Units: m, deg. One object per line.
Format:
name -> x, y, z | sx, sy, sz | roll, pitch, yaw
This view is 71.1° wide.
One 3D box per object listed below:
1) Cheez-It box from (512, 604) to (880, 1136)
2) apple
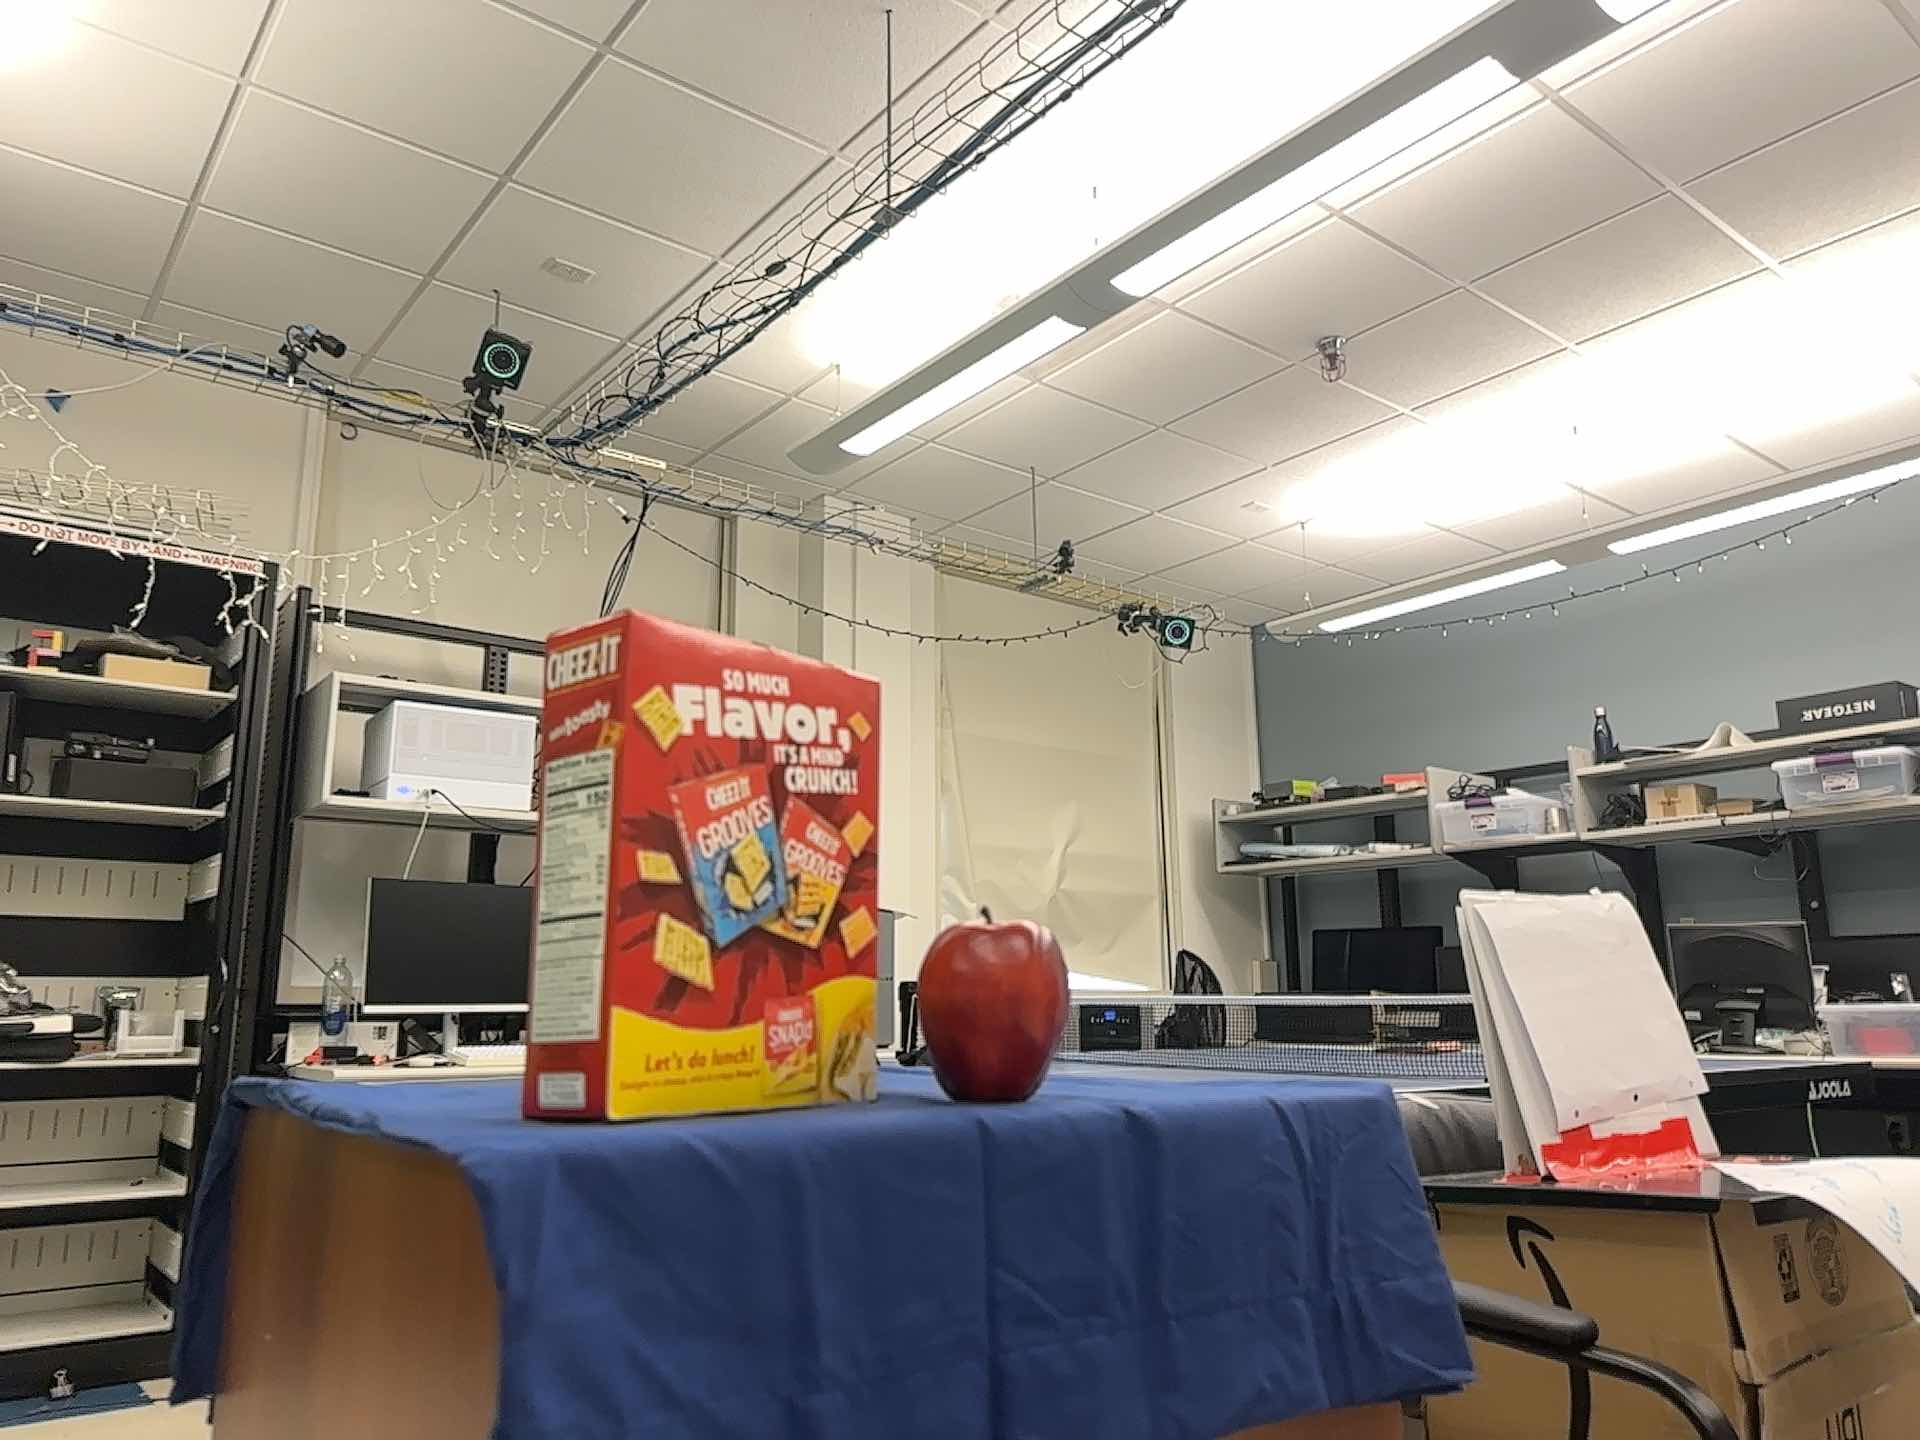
Cheez-It box -> -0.117, 0.073, 0.630 | 0.062, 0.214, 0.159 | -7, -14, 36
apple -> 0.013, 0.142, 0.665 | 0.079, 0.093, 0.079 | 0, -9, 0
